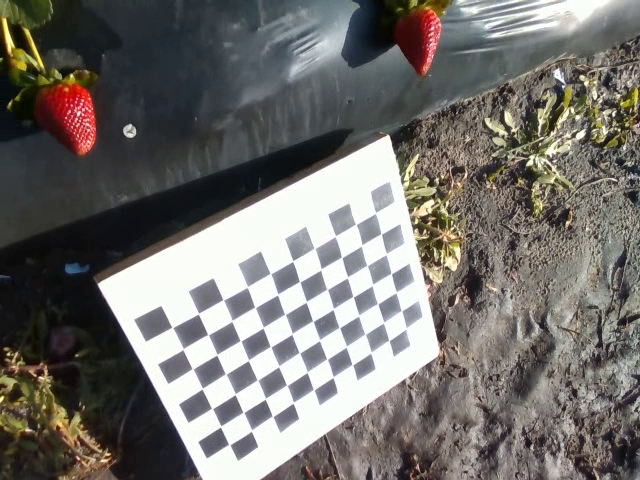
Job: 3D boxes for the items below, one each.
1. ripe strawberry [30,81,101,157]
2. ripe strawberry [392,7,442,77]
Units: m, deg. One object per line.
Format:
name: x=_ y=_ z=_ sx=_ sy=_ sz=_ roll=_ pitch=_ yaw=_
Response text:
ripe strawberry: x=-0.164 y=-0.078 z=0.415 sx=0.045 sy=0.055 sz=0.042 roll=-24 pitch=-3 yaw=-28
ripe strawberry: x=0.077 y=-0.156 z=0.498 sx=0.042 sy=0.059 sz=0.042 roll=-9 pitch=10 yaw=-34
